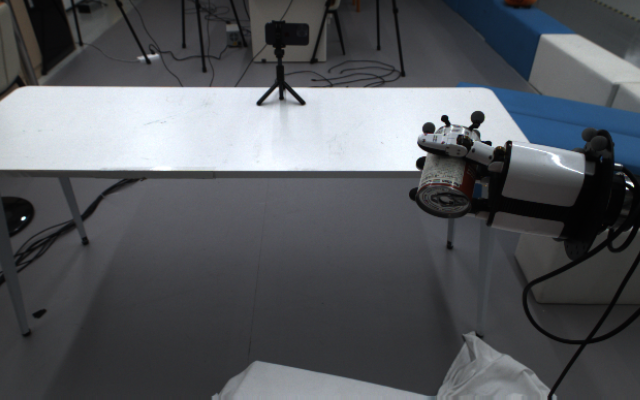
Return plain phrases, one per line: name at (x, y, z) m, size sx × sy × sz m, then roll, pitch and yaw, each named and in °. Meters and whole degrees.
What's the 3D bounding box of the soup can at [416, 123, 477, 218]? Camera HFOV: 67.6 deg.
soup can at (0.165, -0.040, 0.618) m, size 0.067 × 0.067 × 0.101 m, roll 12°, pitch 59°, yaw 14°
